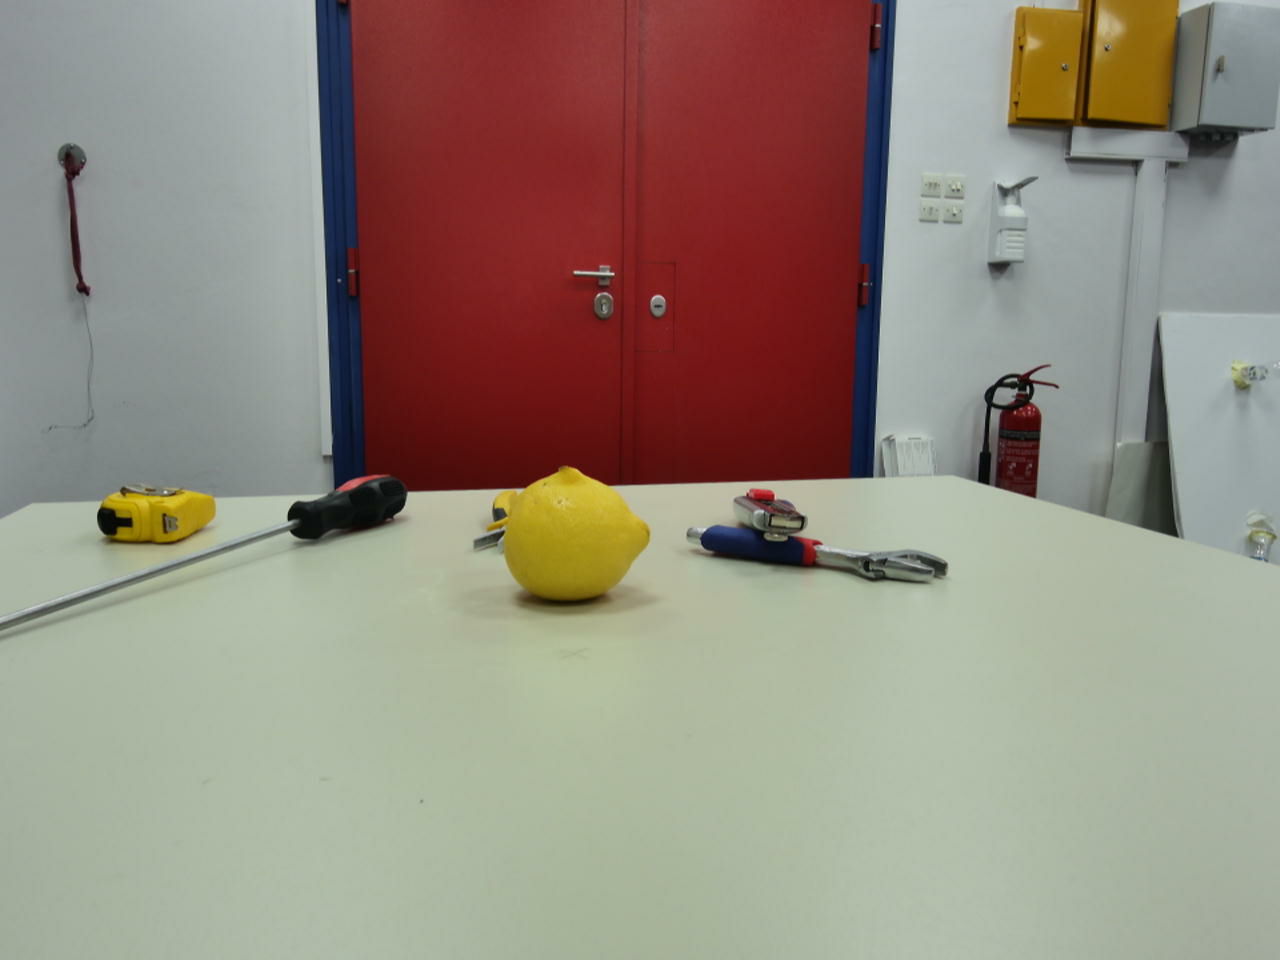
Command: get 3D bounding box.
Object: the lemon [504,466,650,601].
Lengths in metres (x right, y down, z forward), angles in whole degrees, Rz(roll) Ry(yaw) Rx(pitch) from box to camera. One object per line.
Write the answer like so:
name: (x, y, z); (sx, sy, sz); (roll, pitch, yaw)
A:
lemon: (-0.038, 0.028, 0.532); (0.071, 0.071, 0.070); (6, 9, 43)
